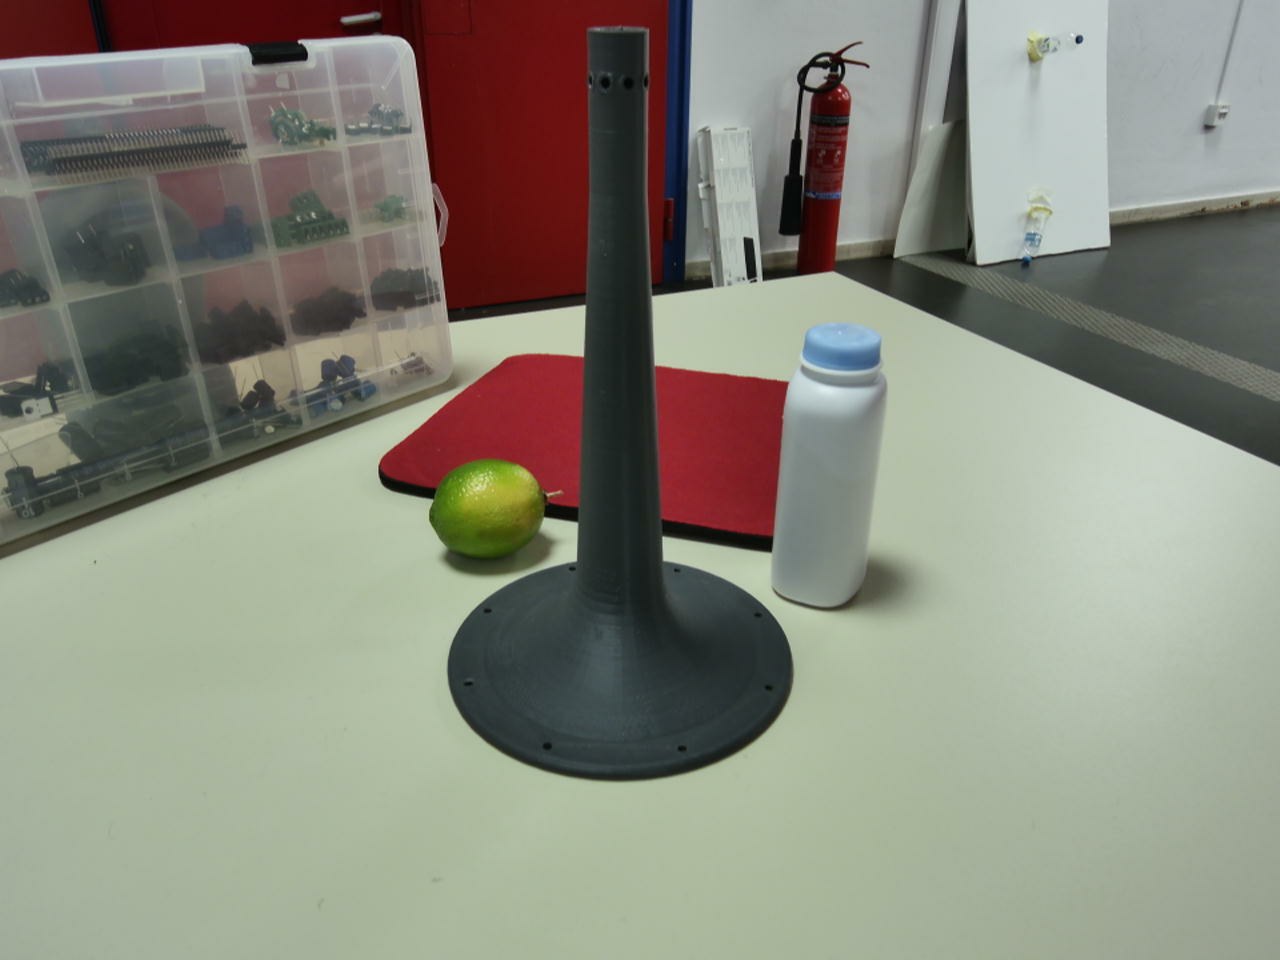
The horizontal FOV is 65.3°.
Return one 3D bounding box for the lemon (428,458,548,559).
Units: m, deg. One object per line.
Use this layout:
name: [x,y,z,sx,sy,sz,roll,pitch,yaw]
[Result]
lemon: [-0.078,0.014,0.513,0.055,0.050,0.054,11,28,22]
